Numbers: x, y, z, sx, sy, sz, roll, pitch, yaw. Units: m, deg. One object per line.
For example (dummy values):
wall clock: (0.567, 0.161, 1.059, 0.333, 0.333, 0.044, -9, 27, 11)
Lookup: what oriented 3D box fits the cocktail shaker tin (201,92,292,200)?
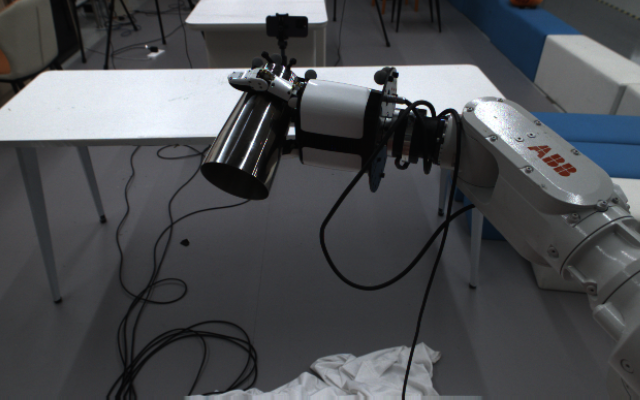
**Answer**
cocktail shaker tin: (-0.080, -0.099, 0.643, 0.093, 0.093, 0.170, 13, 65, 15)
